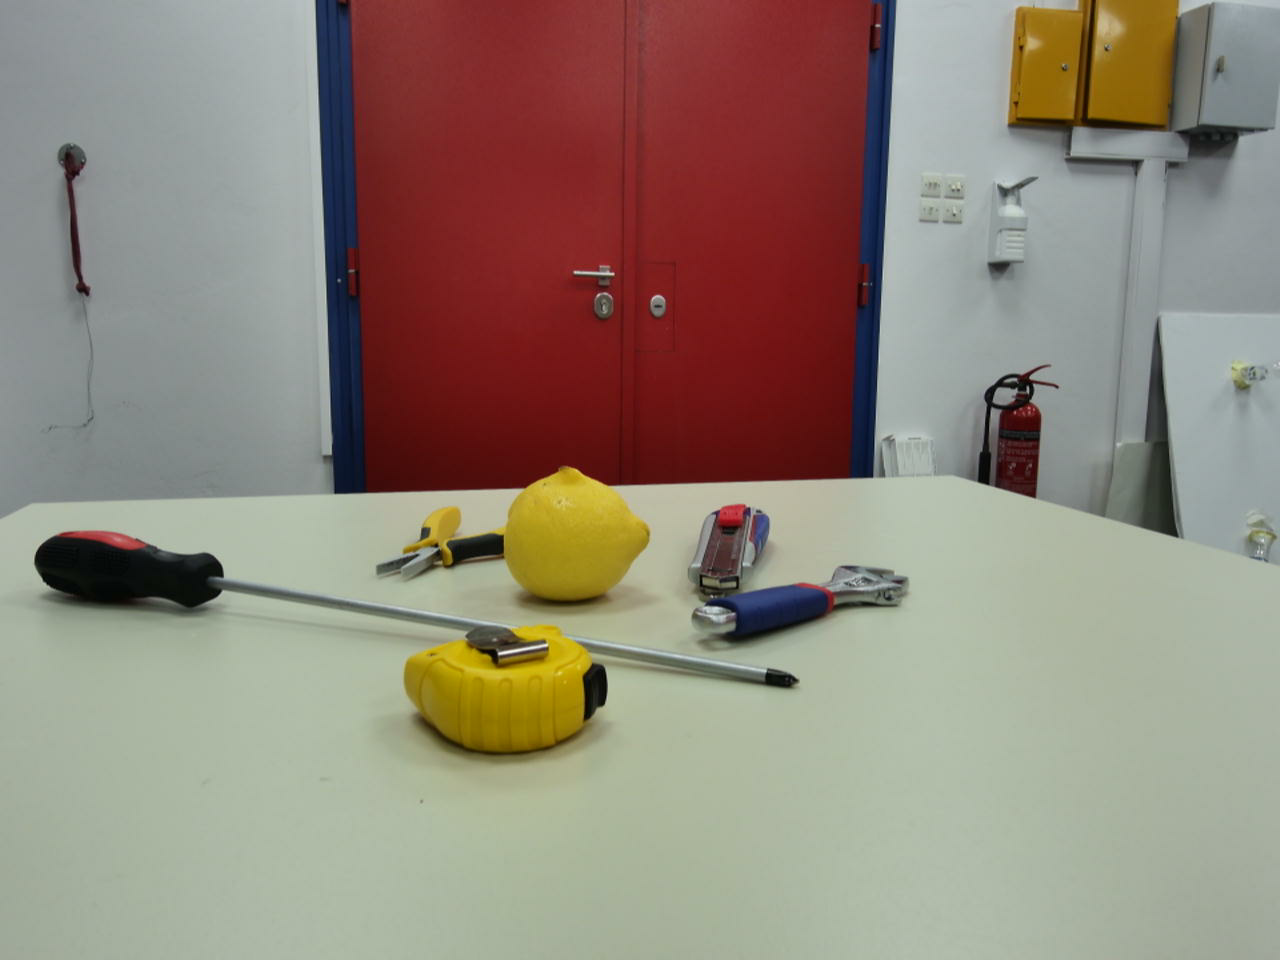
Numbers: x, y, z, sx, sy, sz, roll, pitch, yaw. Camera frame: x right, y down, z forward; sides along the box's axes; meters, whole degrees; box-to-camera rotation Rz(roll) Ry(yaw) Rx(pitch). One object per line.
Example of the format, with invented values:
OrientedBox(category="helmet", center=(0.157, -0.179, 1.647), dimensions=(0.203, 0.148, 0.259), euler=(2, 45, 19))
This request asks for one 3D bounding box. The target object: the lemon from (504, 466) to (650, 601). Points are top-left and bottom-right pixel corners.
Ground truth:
OrientedBox(category="lemon", center=(-0.038, 0.028, 0.532), dimensions=(0.071, 0.071, 0.070), euler=(6, 9, 43))
